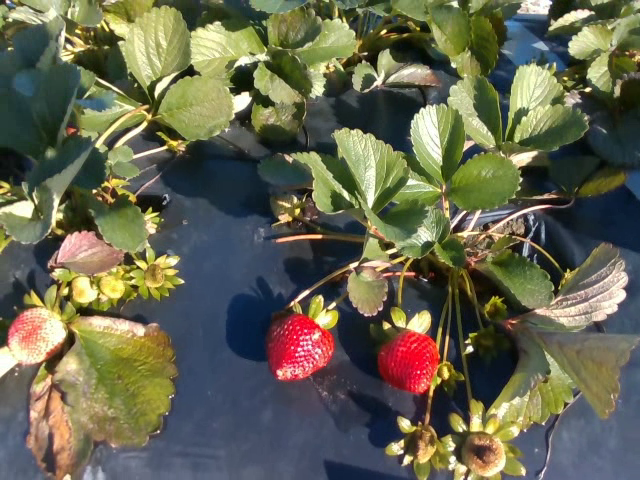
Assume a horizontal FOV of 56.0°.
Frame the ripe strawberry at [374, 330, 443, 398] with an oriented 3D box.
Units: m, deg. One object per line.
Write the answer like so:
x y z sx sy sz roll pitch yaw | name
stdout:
0.054 0.075 0.348 0.042 0.039 0.049 -37 19 12 | ripe strawberry

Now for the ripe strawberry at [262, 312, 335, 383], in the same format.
-0.018 0.068 0.361 0.050 0.045 0.050 26 29 11 | ripe strawberry
